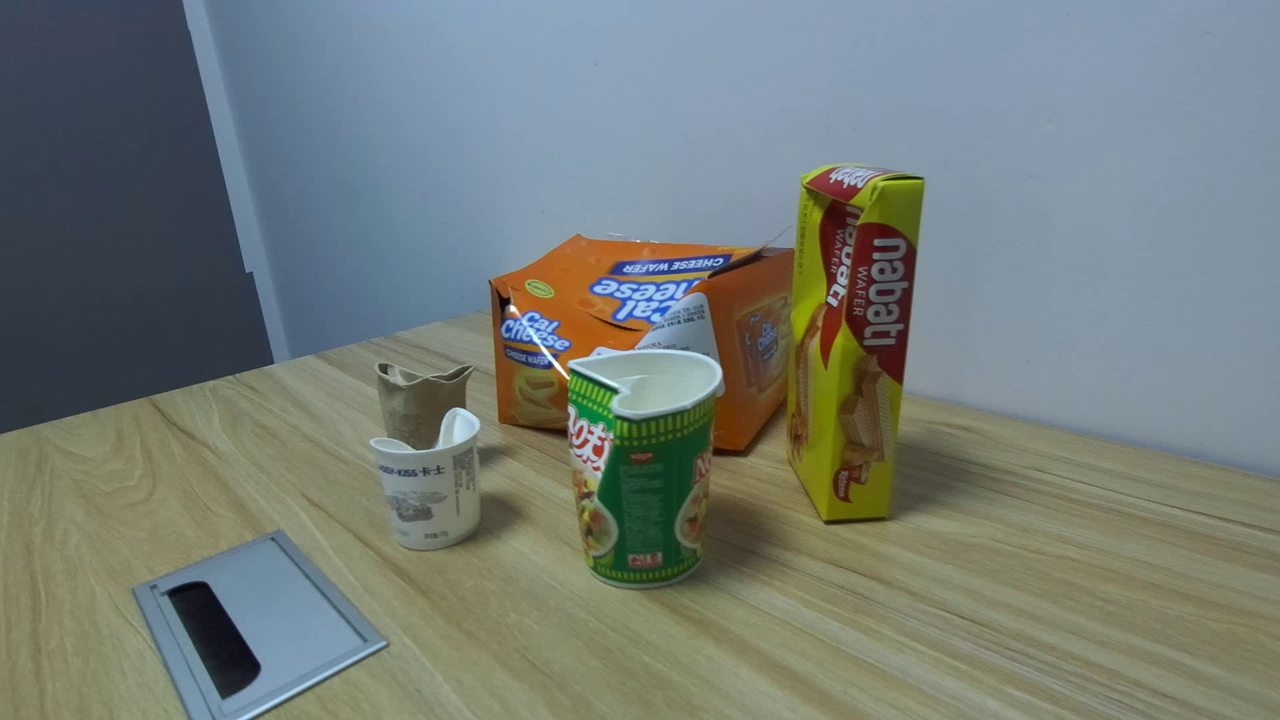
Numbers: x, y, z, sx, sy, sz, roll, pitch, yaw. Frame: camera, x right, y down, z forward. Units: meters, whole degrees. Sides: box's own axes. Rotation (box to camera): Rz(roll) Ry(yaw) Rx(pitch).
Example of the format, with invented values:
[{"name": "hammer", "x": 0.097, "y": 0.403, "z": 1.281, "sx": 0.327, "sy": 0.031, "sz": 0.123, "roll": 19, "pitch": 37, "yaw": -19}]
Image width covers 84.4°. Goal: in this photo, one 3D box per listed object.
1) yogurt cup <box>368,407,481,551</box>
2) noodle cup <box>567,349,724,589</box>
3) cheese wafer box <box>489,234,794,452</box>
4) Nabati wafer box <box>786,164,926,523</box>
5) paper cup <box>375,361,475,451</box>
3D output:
[{"name": "yogurt cup", "x": -0.126, "y": 0.074, "z": 0.436, "sx": 0.067, "sy": 0.070, "sz": 0.067, "roll": -2, "pitch": 18, "yaw": 1}, {"name": "noodle cup", "x": 0.003, "y": 0.060, "z": 0.385, "sx": 0.087, "sy": 0.109, "sz": 0.093, "roll": -3, "pitch": 20, "yaw": 2}, {"name": "cheese wafer box", "x": 0.000, "y": -0.023, "z": 0.581, "sx": 0.218, "sy": 0.145, "sz": 0.192, "roll": 5, "pitch": 20, "yaw": 26}, {"name": "Nabati wafer box", "x": 0.123, "y": -0.010, "z": 0.427, "sx": 0.042, "sy": 0.203, "sz": 0.096, "roll": -2, "pitch": 20, "yaw": -2}, {"name": "paper cup", "x": -0.156, "y": 0.042, "z": 0.519, "sx": 0.058, "sy": 0.083, "sz": 0.066, "roll": -18, "pitch": 25, "yaw": -39}]
